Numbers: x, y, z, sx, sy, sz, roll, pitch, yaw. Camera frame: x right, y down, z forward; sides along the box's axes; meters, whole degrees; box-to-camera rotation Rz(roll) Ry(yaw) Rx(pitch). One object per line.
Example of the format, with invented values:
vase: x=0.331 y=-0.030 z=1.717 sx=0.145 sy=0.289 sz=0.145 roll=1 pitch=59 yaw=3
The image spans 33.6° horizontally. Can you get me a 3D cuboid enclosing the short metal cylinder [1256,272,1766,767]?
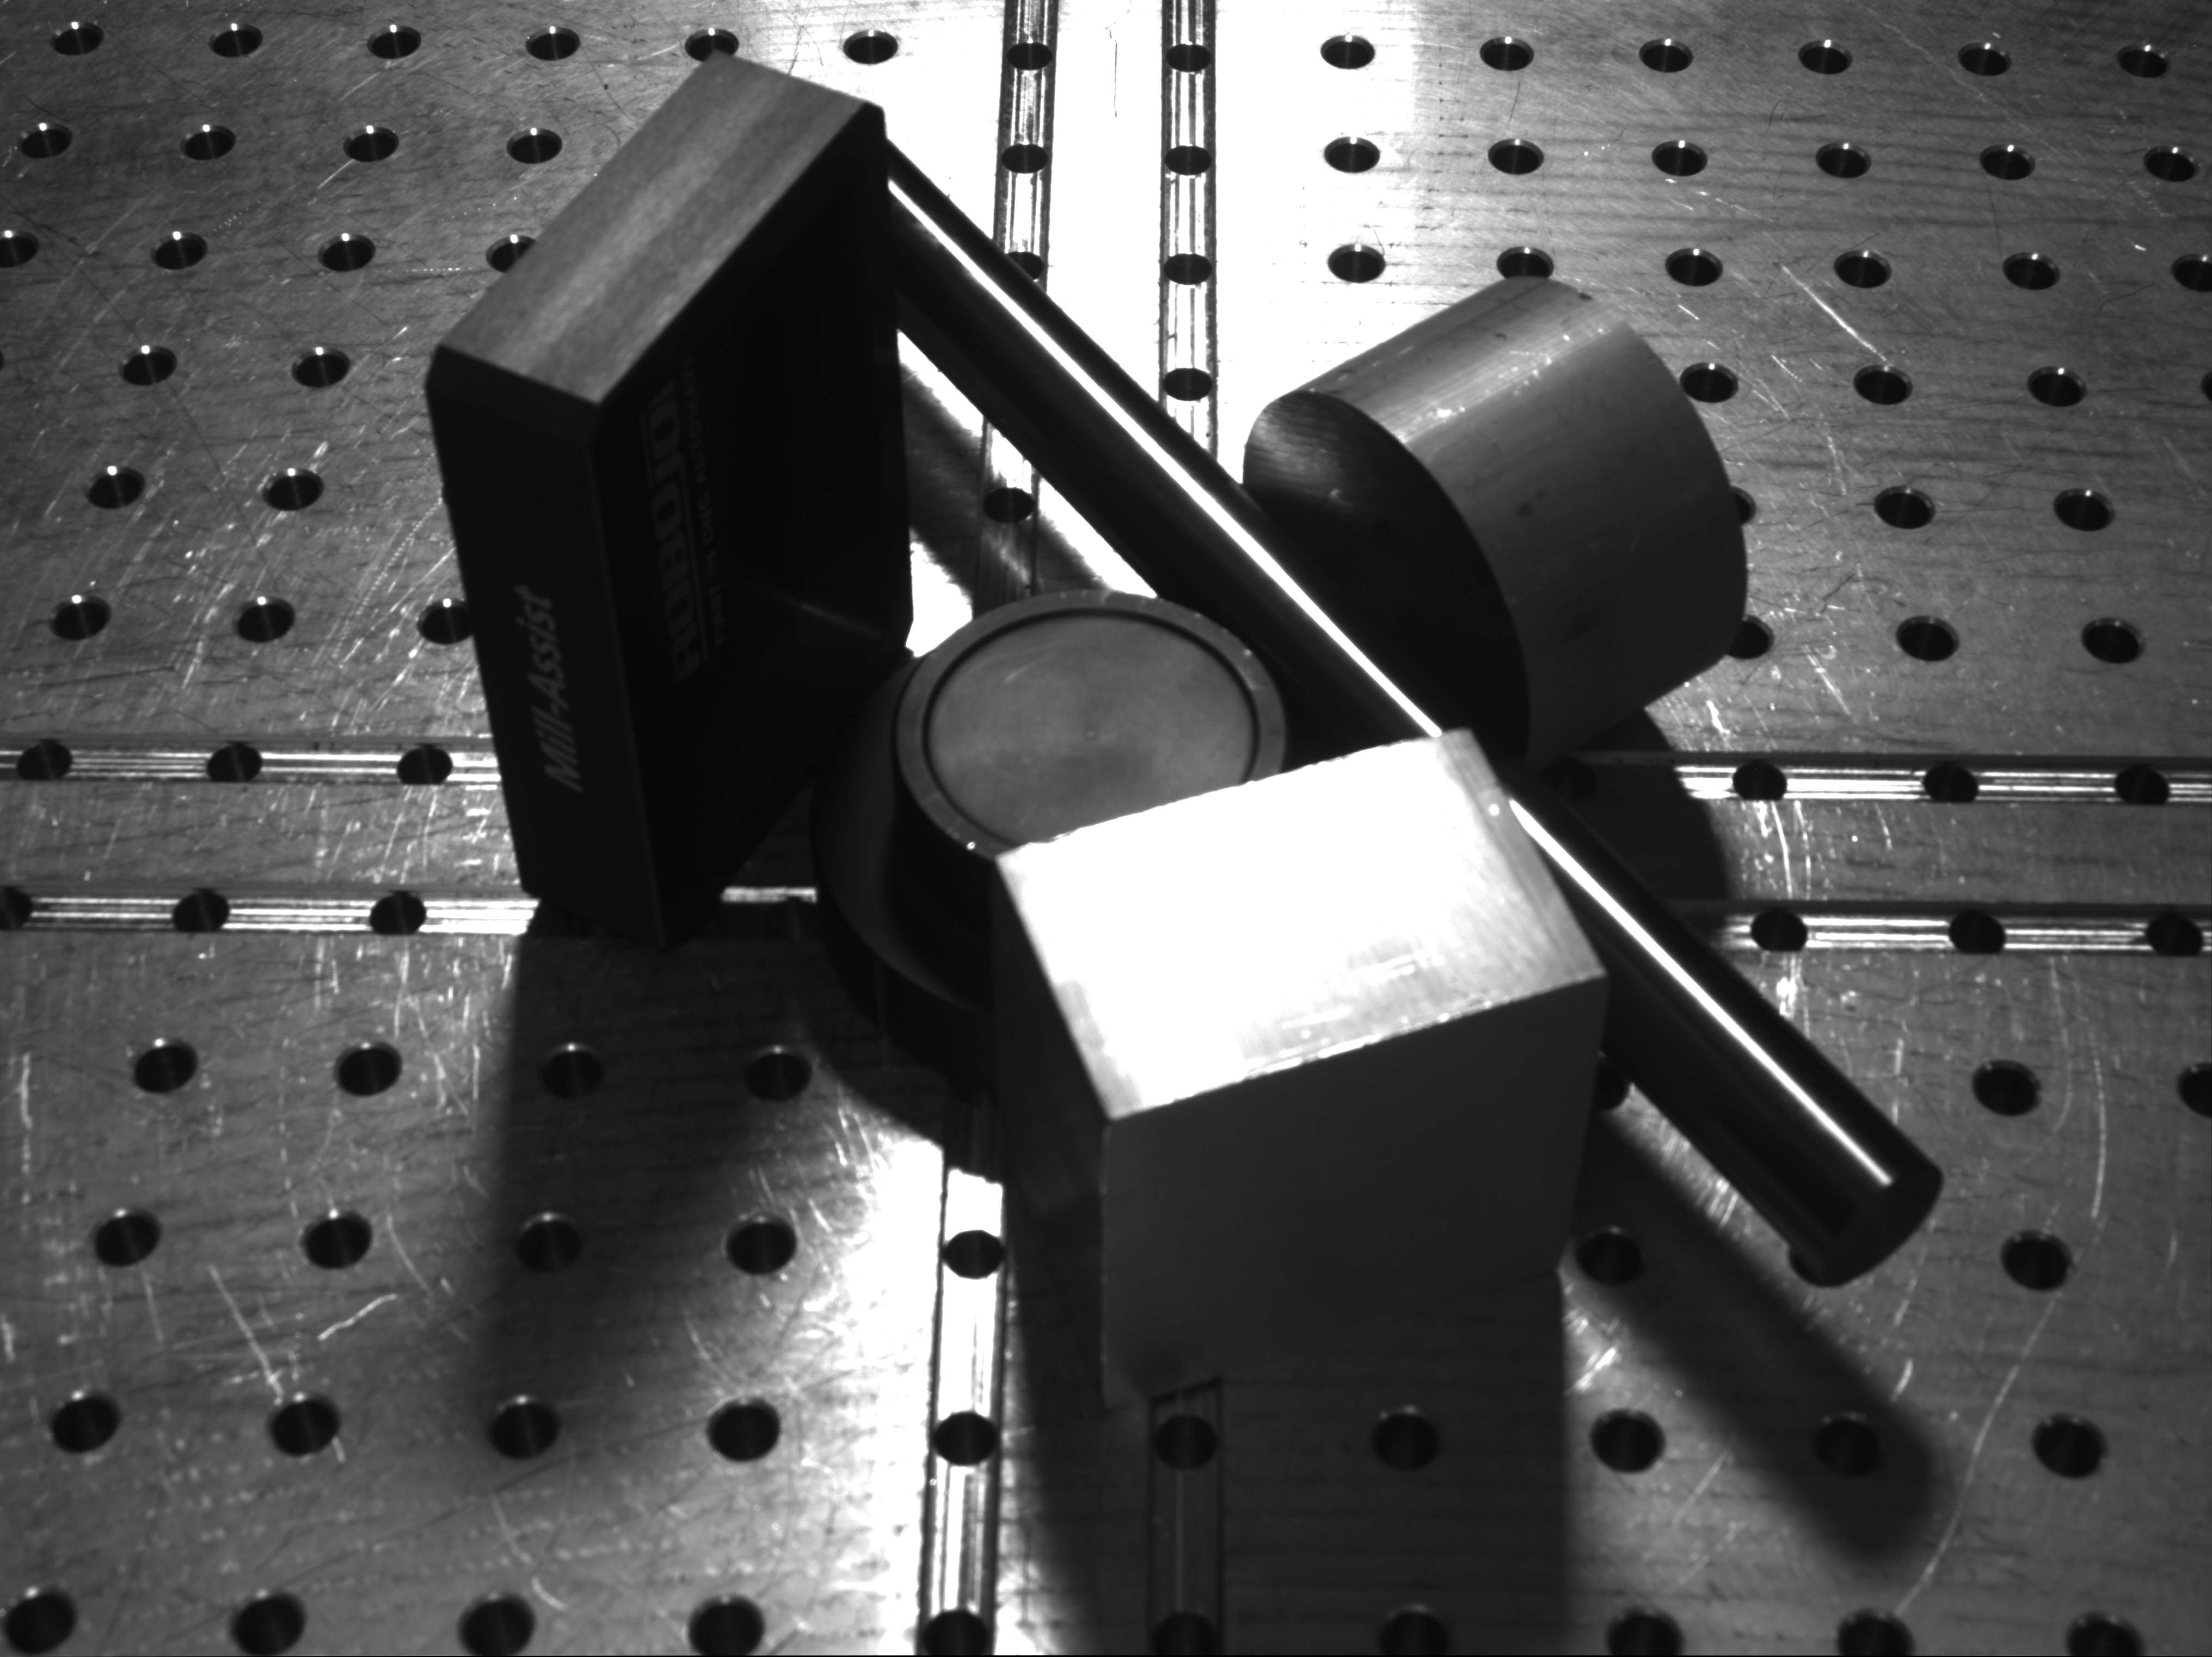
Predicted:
short metal cylinder: x=0.071 y=-0.052 z=0.652 sx=0.050 sy=0.080 sz=0.080 roll=-30 pitch=56 yaw=-23

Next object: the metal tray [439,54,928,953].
metal tray: x=-0.067 y=-0.053 z=0.621 sx=0.030 sy=0.130 sz=0.090 roll=21 pitch=53 yaw=17

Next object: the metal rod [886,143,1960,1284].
metal rod: x=0.037 y=-0.033 z=0.645 sx=0.025 sy=0.025 sz=0.299 roll=-28 pitch=55 yaw=-22

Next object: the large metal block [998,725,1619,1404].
large metal block: x=0.030 y=0.038 z=0.577 sx=0.080 sy=0.080 sz=0.050 roll=-15 pitch=51 yaw=-12

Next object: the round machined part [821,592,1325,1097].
round machined part: x=0.000 y=-0.003 z=0.636 sx=0.098 sy=0.042 sz=0.098 roll=0 pitch=50 yaw=0
